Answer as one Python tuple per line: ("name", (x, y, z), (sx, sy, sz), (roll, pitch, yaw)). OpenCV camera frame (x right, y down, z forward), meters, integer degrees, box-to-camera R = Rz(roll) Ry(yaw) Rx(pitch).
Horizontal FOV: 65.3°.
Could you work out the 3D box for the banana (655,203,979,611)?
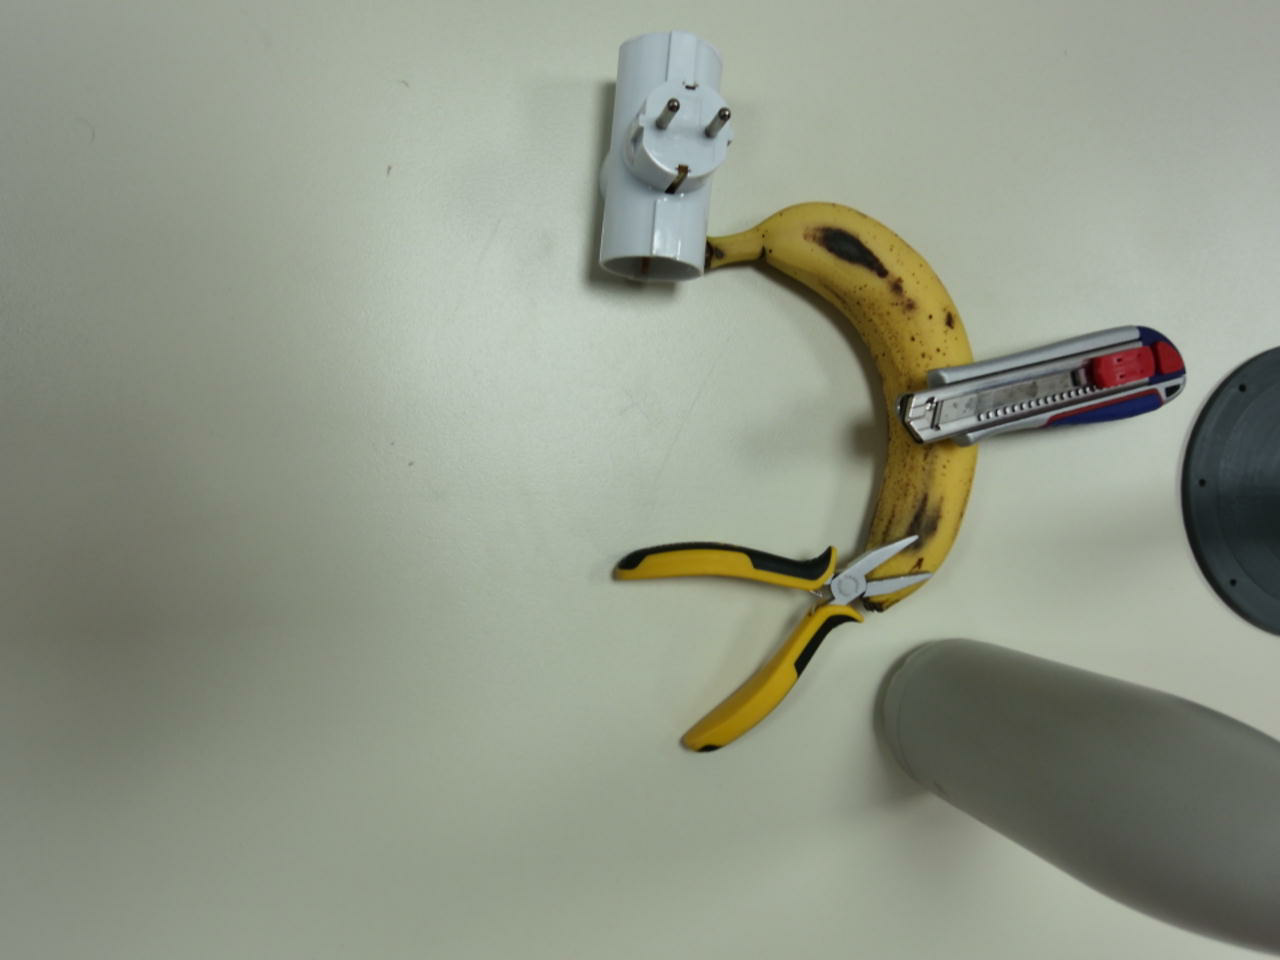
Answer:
("banana", (0.100, -0.043, 0.440), (0.097, 0.038, 0.186), (-29, 95, -10))
